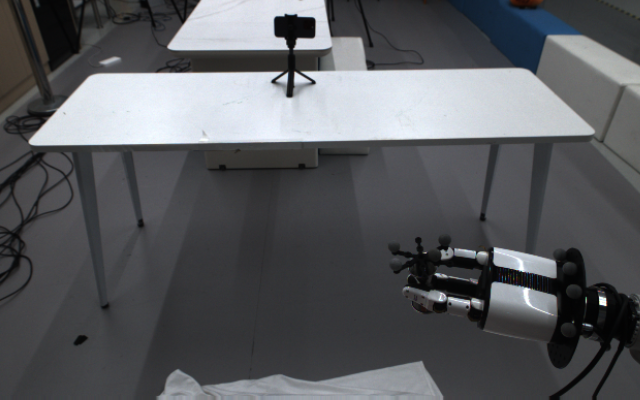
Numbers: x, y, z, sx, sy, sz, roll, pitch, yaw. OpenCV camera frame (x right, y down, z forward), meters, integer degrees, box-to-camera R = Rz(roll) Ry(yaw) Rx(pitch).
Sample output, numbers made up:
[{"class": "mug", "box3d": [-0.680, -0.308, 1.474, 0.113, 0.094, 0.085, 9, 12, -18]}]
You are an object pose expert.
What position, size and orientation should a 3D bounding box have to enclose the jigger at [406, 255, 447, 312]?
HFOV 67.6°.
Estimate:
[{"class": "jigger", "box3d": [0.148, 0.120, 0.686, 0.043, 0.071, 0.043, -10, 32, 6]}]
